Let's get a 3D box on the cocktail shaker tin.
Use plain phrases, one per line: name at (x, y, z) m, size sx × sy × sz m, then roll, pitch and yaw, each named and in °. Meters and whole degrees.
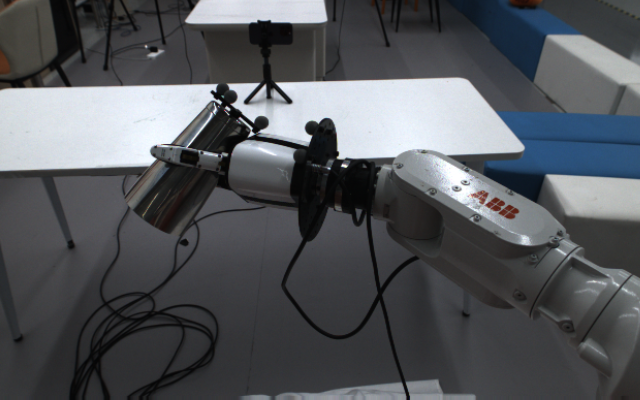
cocktail shaker tin at (-0.169, -0.048, 0.650) m, size 0.170 × 0.093 × 0.093 m, roll -50°, pitch 46°, yaw 4°
